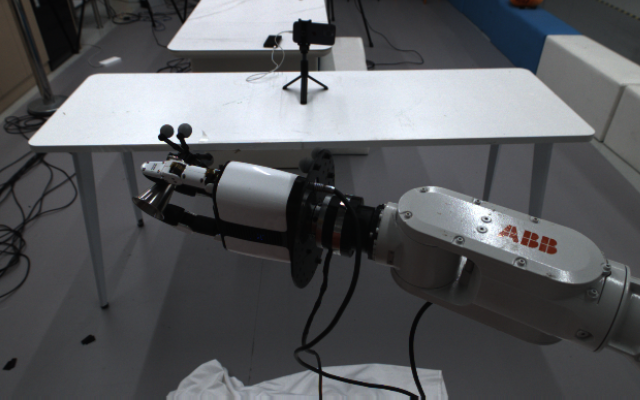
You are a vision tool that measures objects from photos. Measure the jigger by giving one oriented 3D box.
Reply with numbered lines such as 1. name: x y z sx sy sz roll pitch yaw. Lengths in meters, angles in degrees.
1. jigger: -0.189 -0.019 0.584 0.043 0.043 0.071 19 62 23
